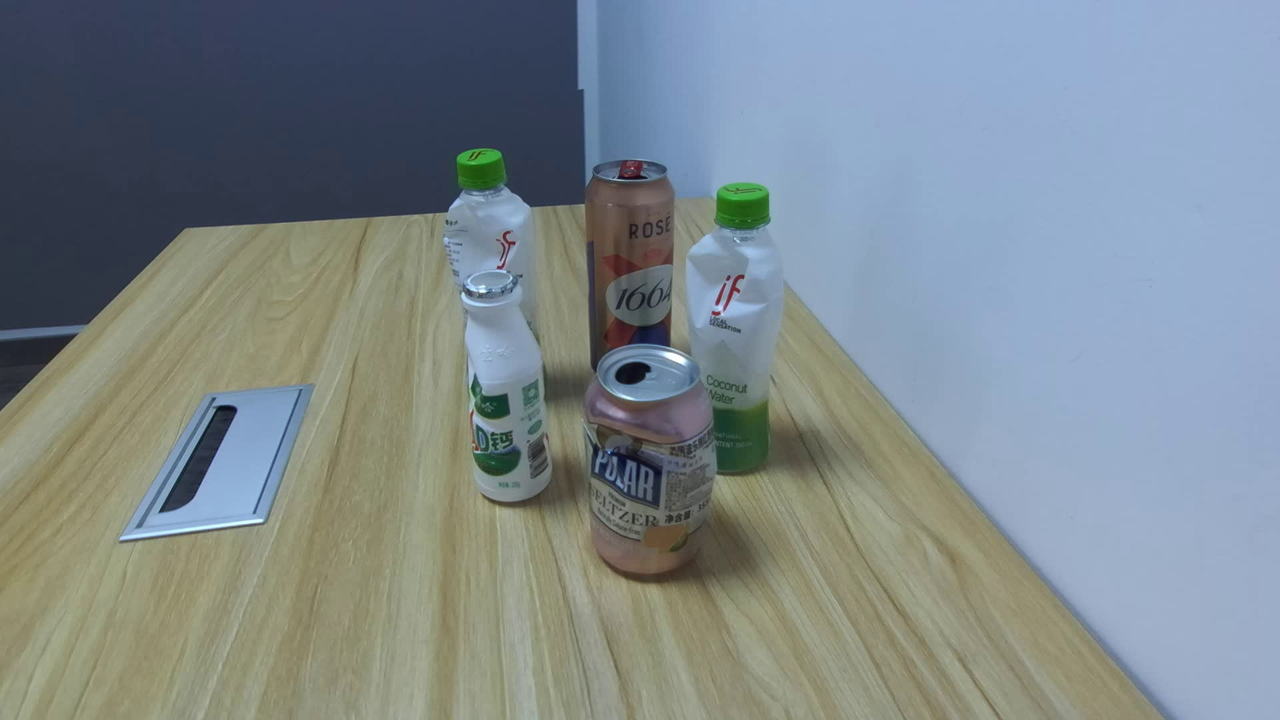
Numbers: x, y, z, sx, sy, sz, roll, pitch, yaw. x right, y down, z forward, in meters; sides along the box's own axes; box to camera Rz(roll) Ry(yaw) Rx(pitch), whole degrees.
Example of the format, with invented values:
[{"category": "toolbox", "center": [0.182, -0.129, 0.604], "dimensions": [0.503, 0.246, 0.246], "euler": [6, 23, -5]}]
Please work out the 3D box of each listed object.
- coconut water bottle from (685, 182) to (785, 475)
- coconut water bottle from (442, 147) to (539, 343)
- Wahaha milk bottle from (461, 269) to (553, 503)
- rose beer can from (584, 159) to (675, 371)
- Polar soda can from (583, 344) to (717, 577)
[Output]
[{"category": "coconut water bottle", "center": [0.060, -0.017, 0.449], "dimensions": [0.067, 0.187, 0.067], "euler": [0, 30, 0]}, {"category": "coconut water bottle", "center": [-0.103, -0.053, 0.509], "dimensions": [0.069, 0.187, 0.069], "euler": [-1, 23, 1]}, {"category": "Wahaha milk bottle", "center": [-0.085, 0.018, 0.435], "dimensions": [0.056, 0.148, 0.056], "euler": [0, 33, 0]}, {"category": "rose beer can", "center": [-0.007, -0.063, 0.551], "dimensions": [0.068, 0.169, 0.068], "euler": [0, 29, 0]}, {"category": "Polar soda can", "center": [0.003, 0.057, 0.396], "dimensions": [0.067, 0.122, 0.074], "euler": [-7, 34, -11]}]
